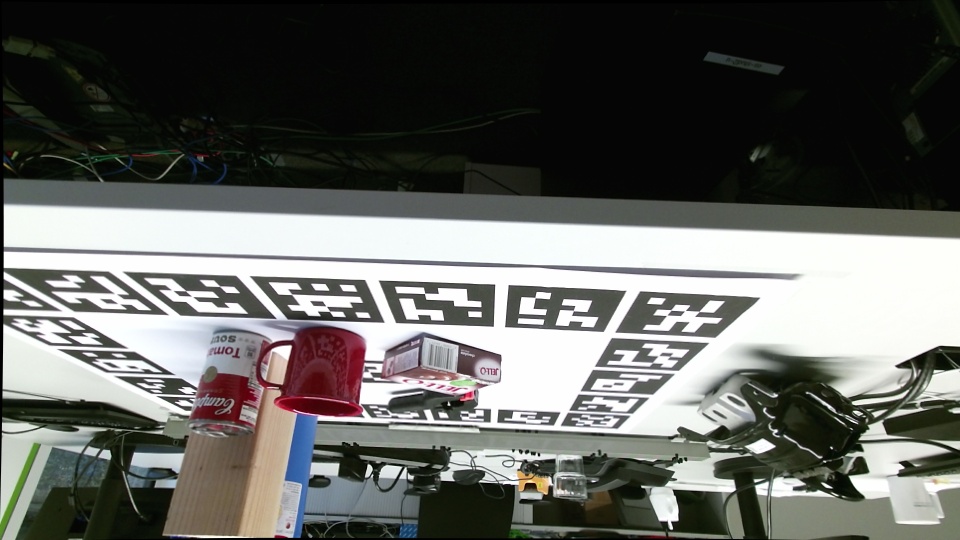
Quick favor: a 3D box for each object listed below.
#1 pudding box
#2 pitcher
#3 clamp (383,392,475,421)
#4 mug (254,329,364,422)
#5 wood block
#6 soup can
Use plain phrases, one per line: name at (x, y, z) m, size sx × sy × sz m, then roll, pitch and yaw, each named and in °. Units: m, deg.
pudding box at (-0.038, 0.117, 0.628) m, size 0.114 × 0.038 × 0.090 m, roll 21°, pitch 142°, yaw -31°
pitcher at (-0.317, 0.292, 0.743) m, size 0.189 × 0.241 × 0.133 m, roll -2°, pitch 152°, yaw 0°
clamp at (-0.058, 0.192, 0.771) m, size 0.122 × 0.036 × 0.165 m, roll 23°, pitch 144°, yaw -20°
mug at (-0.181, 0.112, 0.578) m, size 0.118 × 0.081 × 0.093 m, roll 20°, pitch 148°, yaw -30°
wood block at (-0.293, 0.219, 0.644) m, size 0.090 × 0.205 × 0.091 m, roll 3°, pitch 151°, yaw 6°
soup can at (-0.275, 0.129, 0.591) m, size 0.068 × 0.101 × 0.068 m, roll 1°, pitch 148°, yaw 1°
